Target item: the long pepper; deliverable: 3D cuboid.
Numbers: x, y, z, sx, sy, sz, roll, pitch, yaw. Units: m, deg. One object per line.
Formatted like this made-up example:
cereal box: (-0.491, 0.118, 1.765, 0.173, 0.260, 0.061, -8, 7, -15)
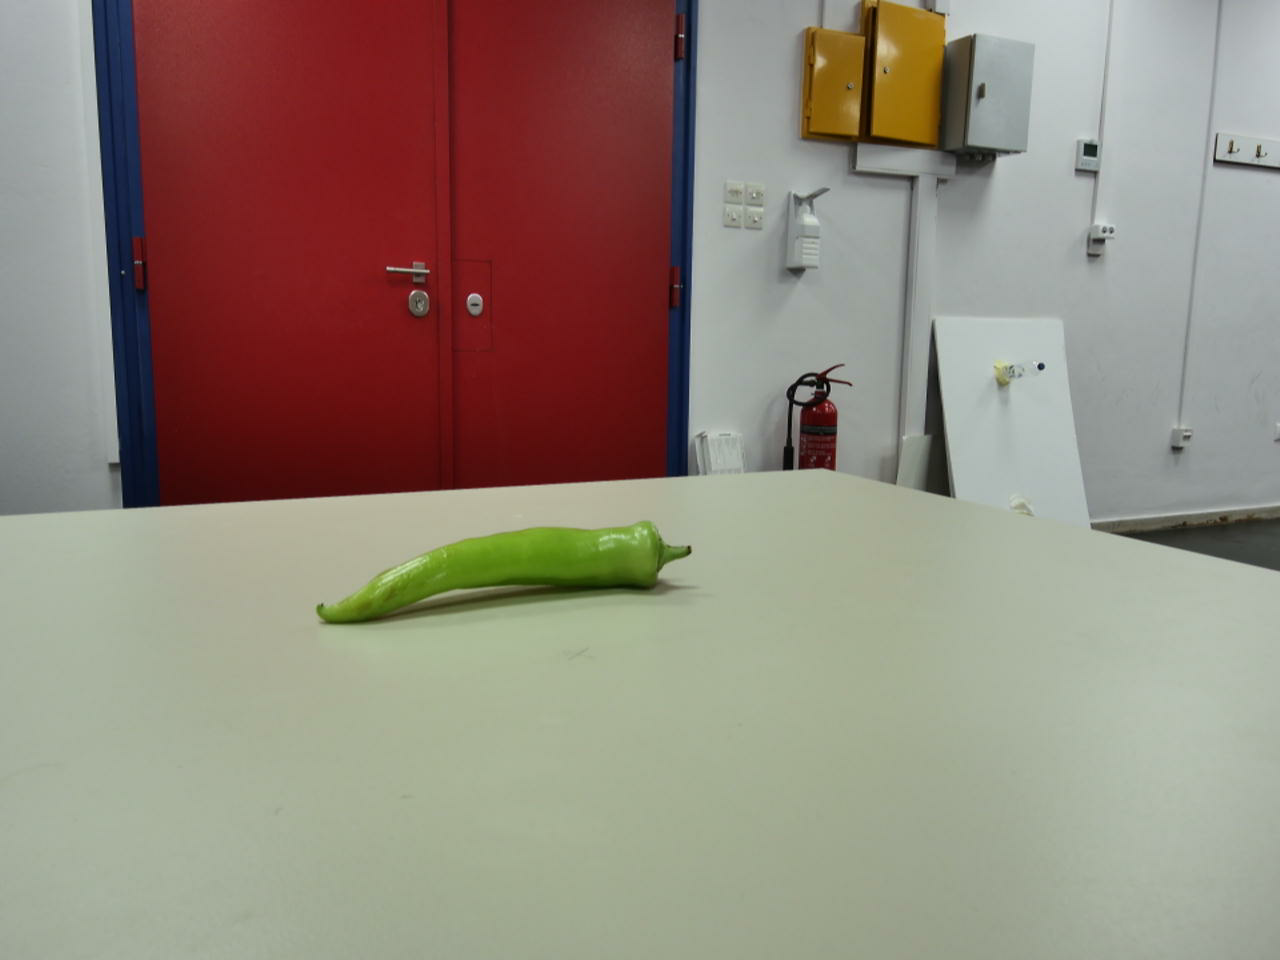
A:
long pepper: (-0.068, 0.044, 0.521, 0.197, 0.038, 0.047, -3, 7, -23)
